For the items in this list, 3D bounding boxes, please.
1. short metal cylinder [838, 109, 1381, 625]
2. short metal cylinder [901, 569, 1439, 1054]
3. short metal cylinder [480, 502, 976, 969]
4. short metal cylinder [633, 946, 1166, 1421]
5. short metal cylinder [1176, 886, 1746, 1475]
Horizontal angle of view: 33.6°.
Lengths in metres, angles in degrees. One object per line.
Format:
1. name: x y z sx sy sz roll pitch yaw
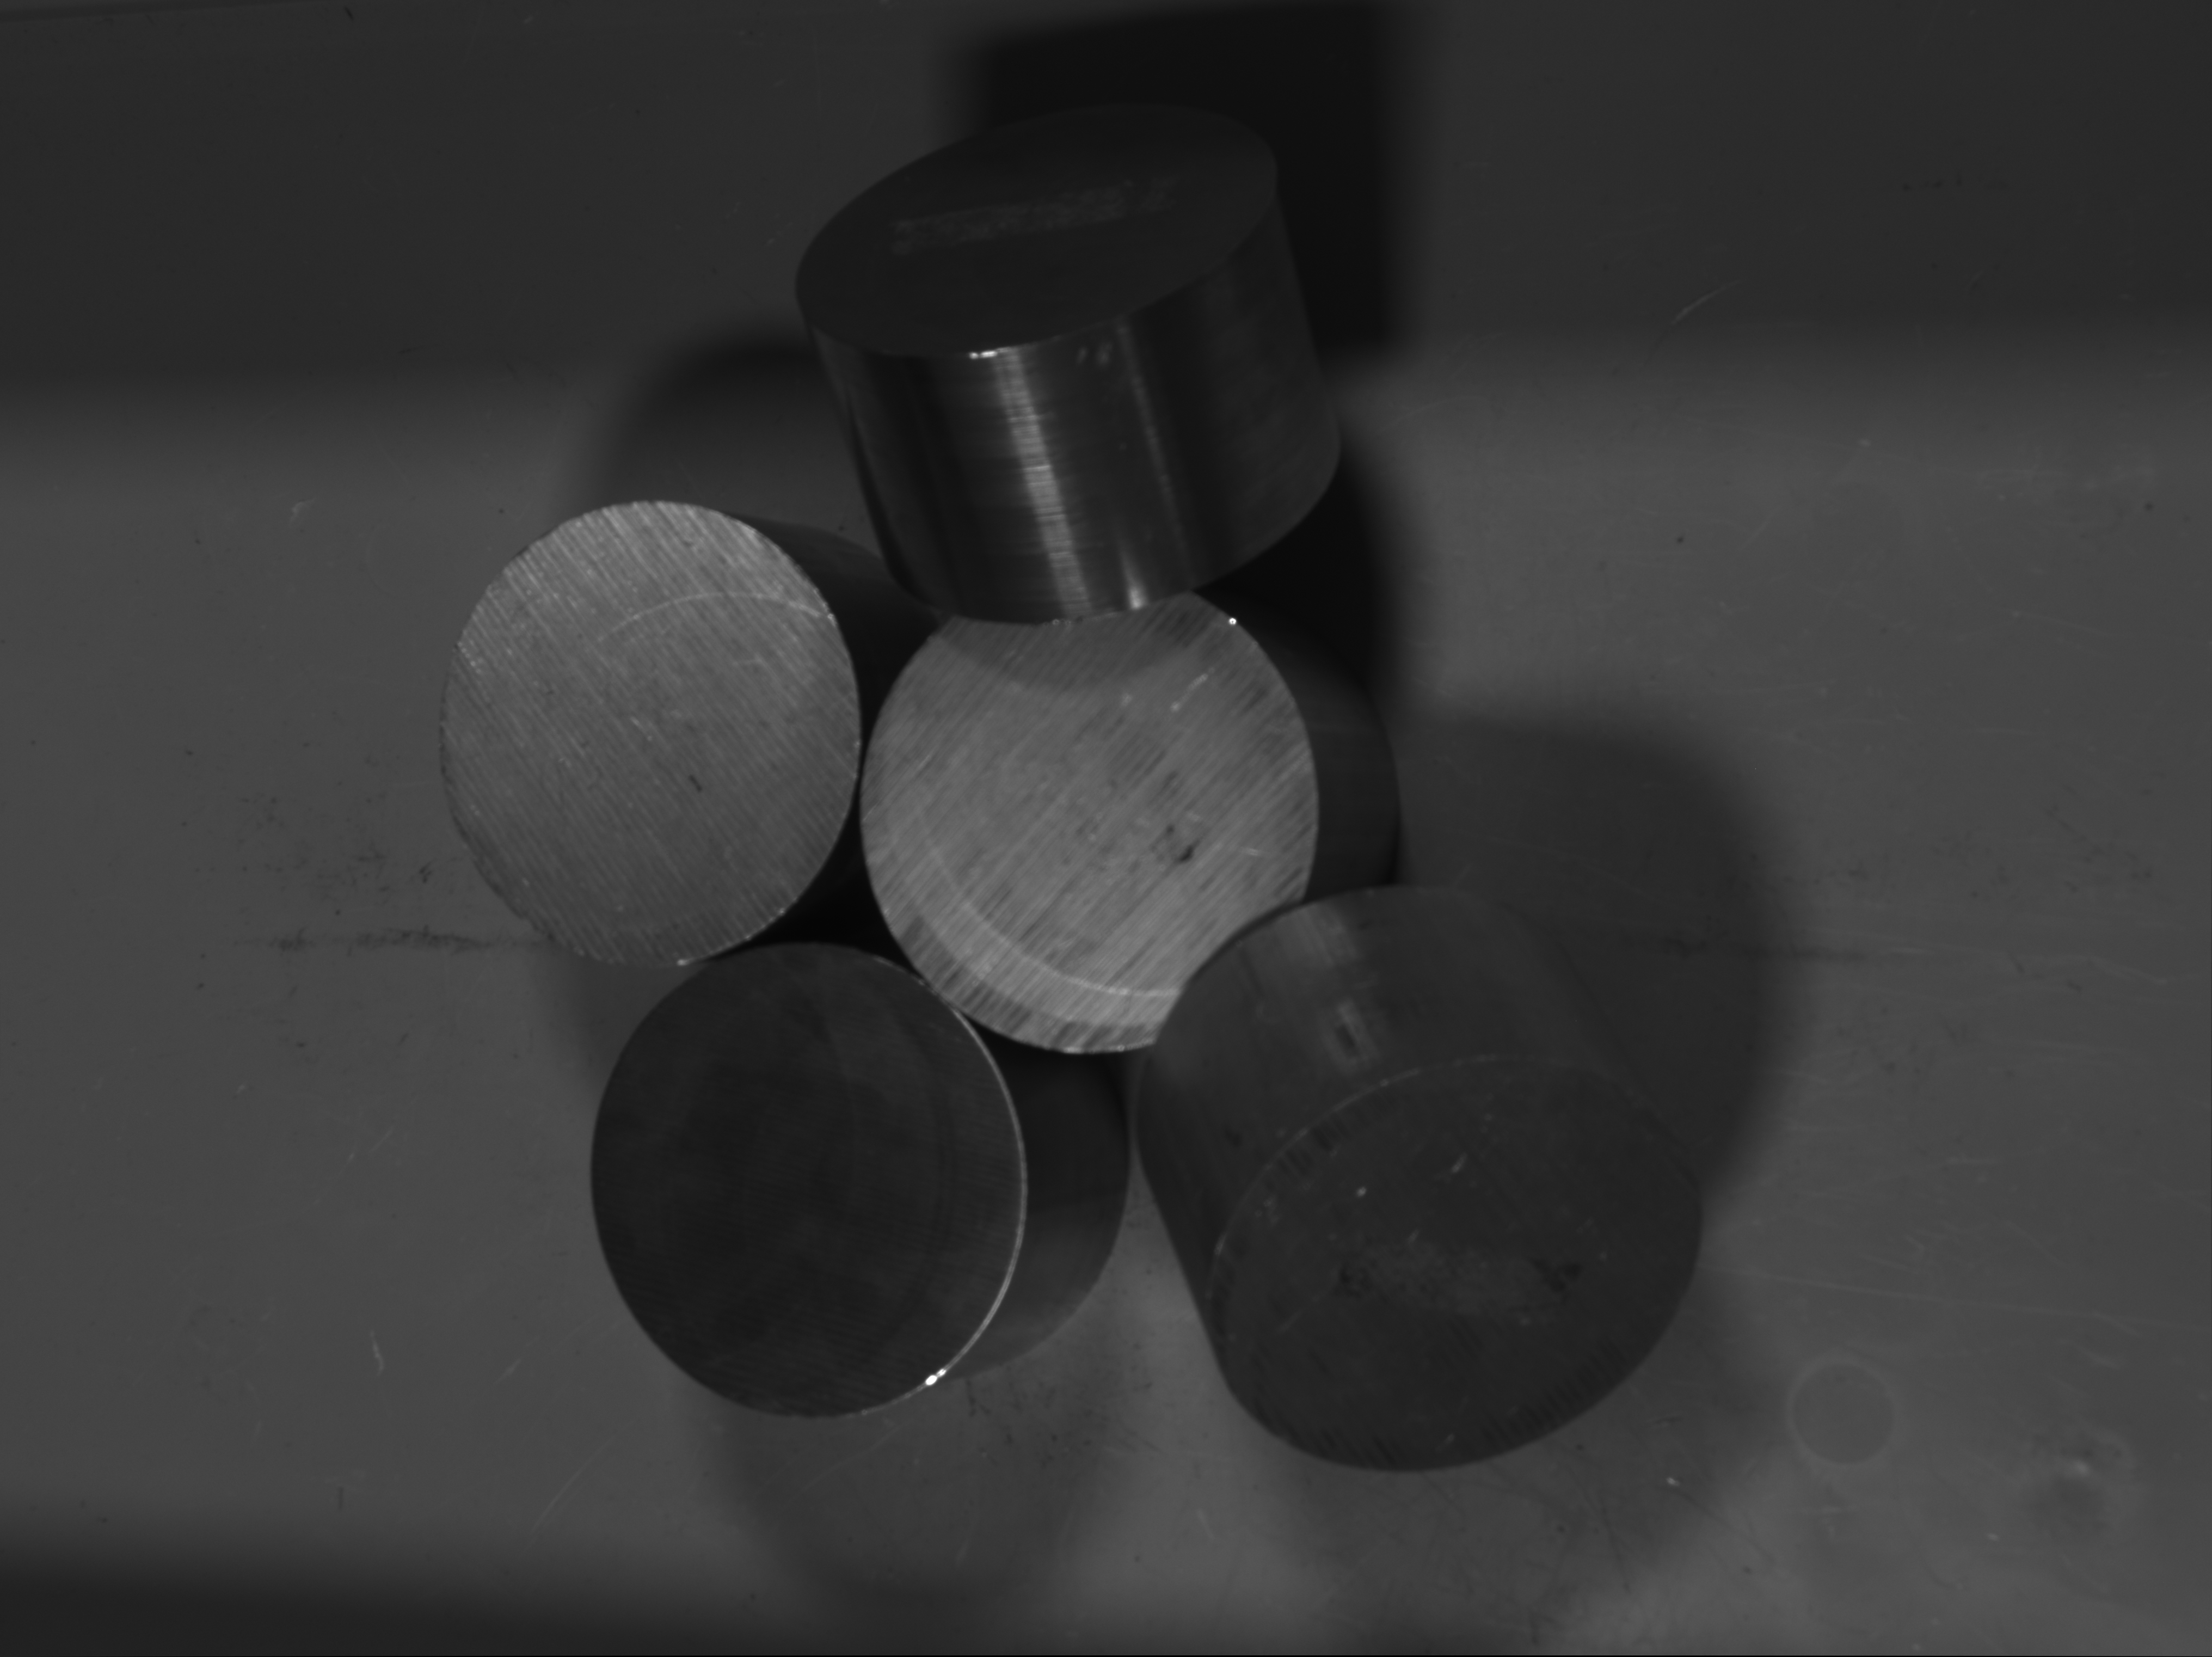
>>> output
1. short metal cylinder: 0.001 -0.077 0.606 0.080 0.080 0.050 -3 127 20
2. short metal cylinder: 0.012 -0.003 0.625 0.080 0.050 0.080 0 90 20
3. short metal cylinder: -0.064 -0.016 0.652 0.080 0.050 0.080 0 90 20
4. short metal cylinder: -0.035 0.060 0.642 0.080 0.050 0.080 0 90 20
5. short metal cylinder: 0.056 0.056 0.588 0.080 0.050 0.080 -6 122 -10
